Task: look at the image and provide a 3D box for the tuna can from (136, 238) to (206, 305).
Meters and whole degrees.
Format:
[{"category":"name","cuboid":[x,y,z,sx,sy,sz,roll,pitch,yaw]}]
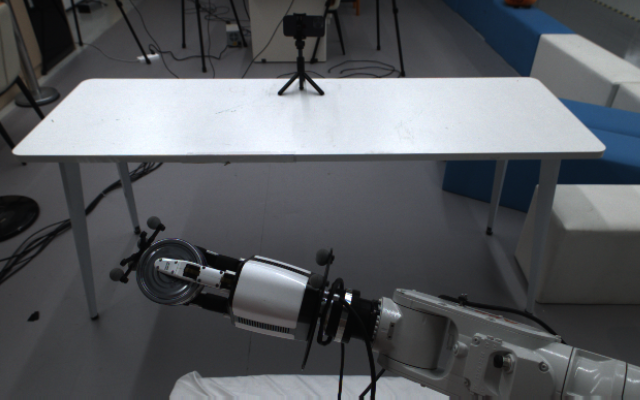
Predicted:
[{"category":"tuna can","cuboid":[-0.188,0.097,0.624,0.085,0.034,0.085,1,77,-5]}]
